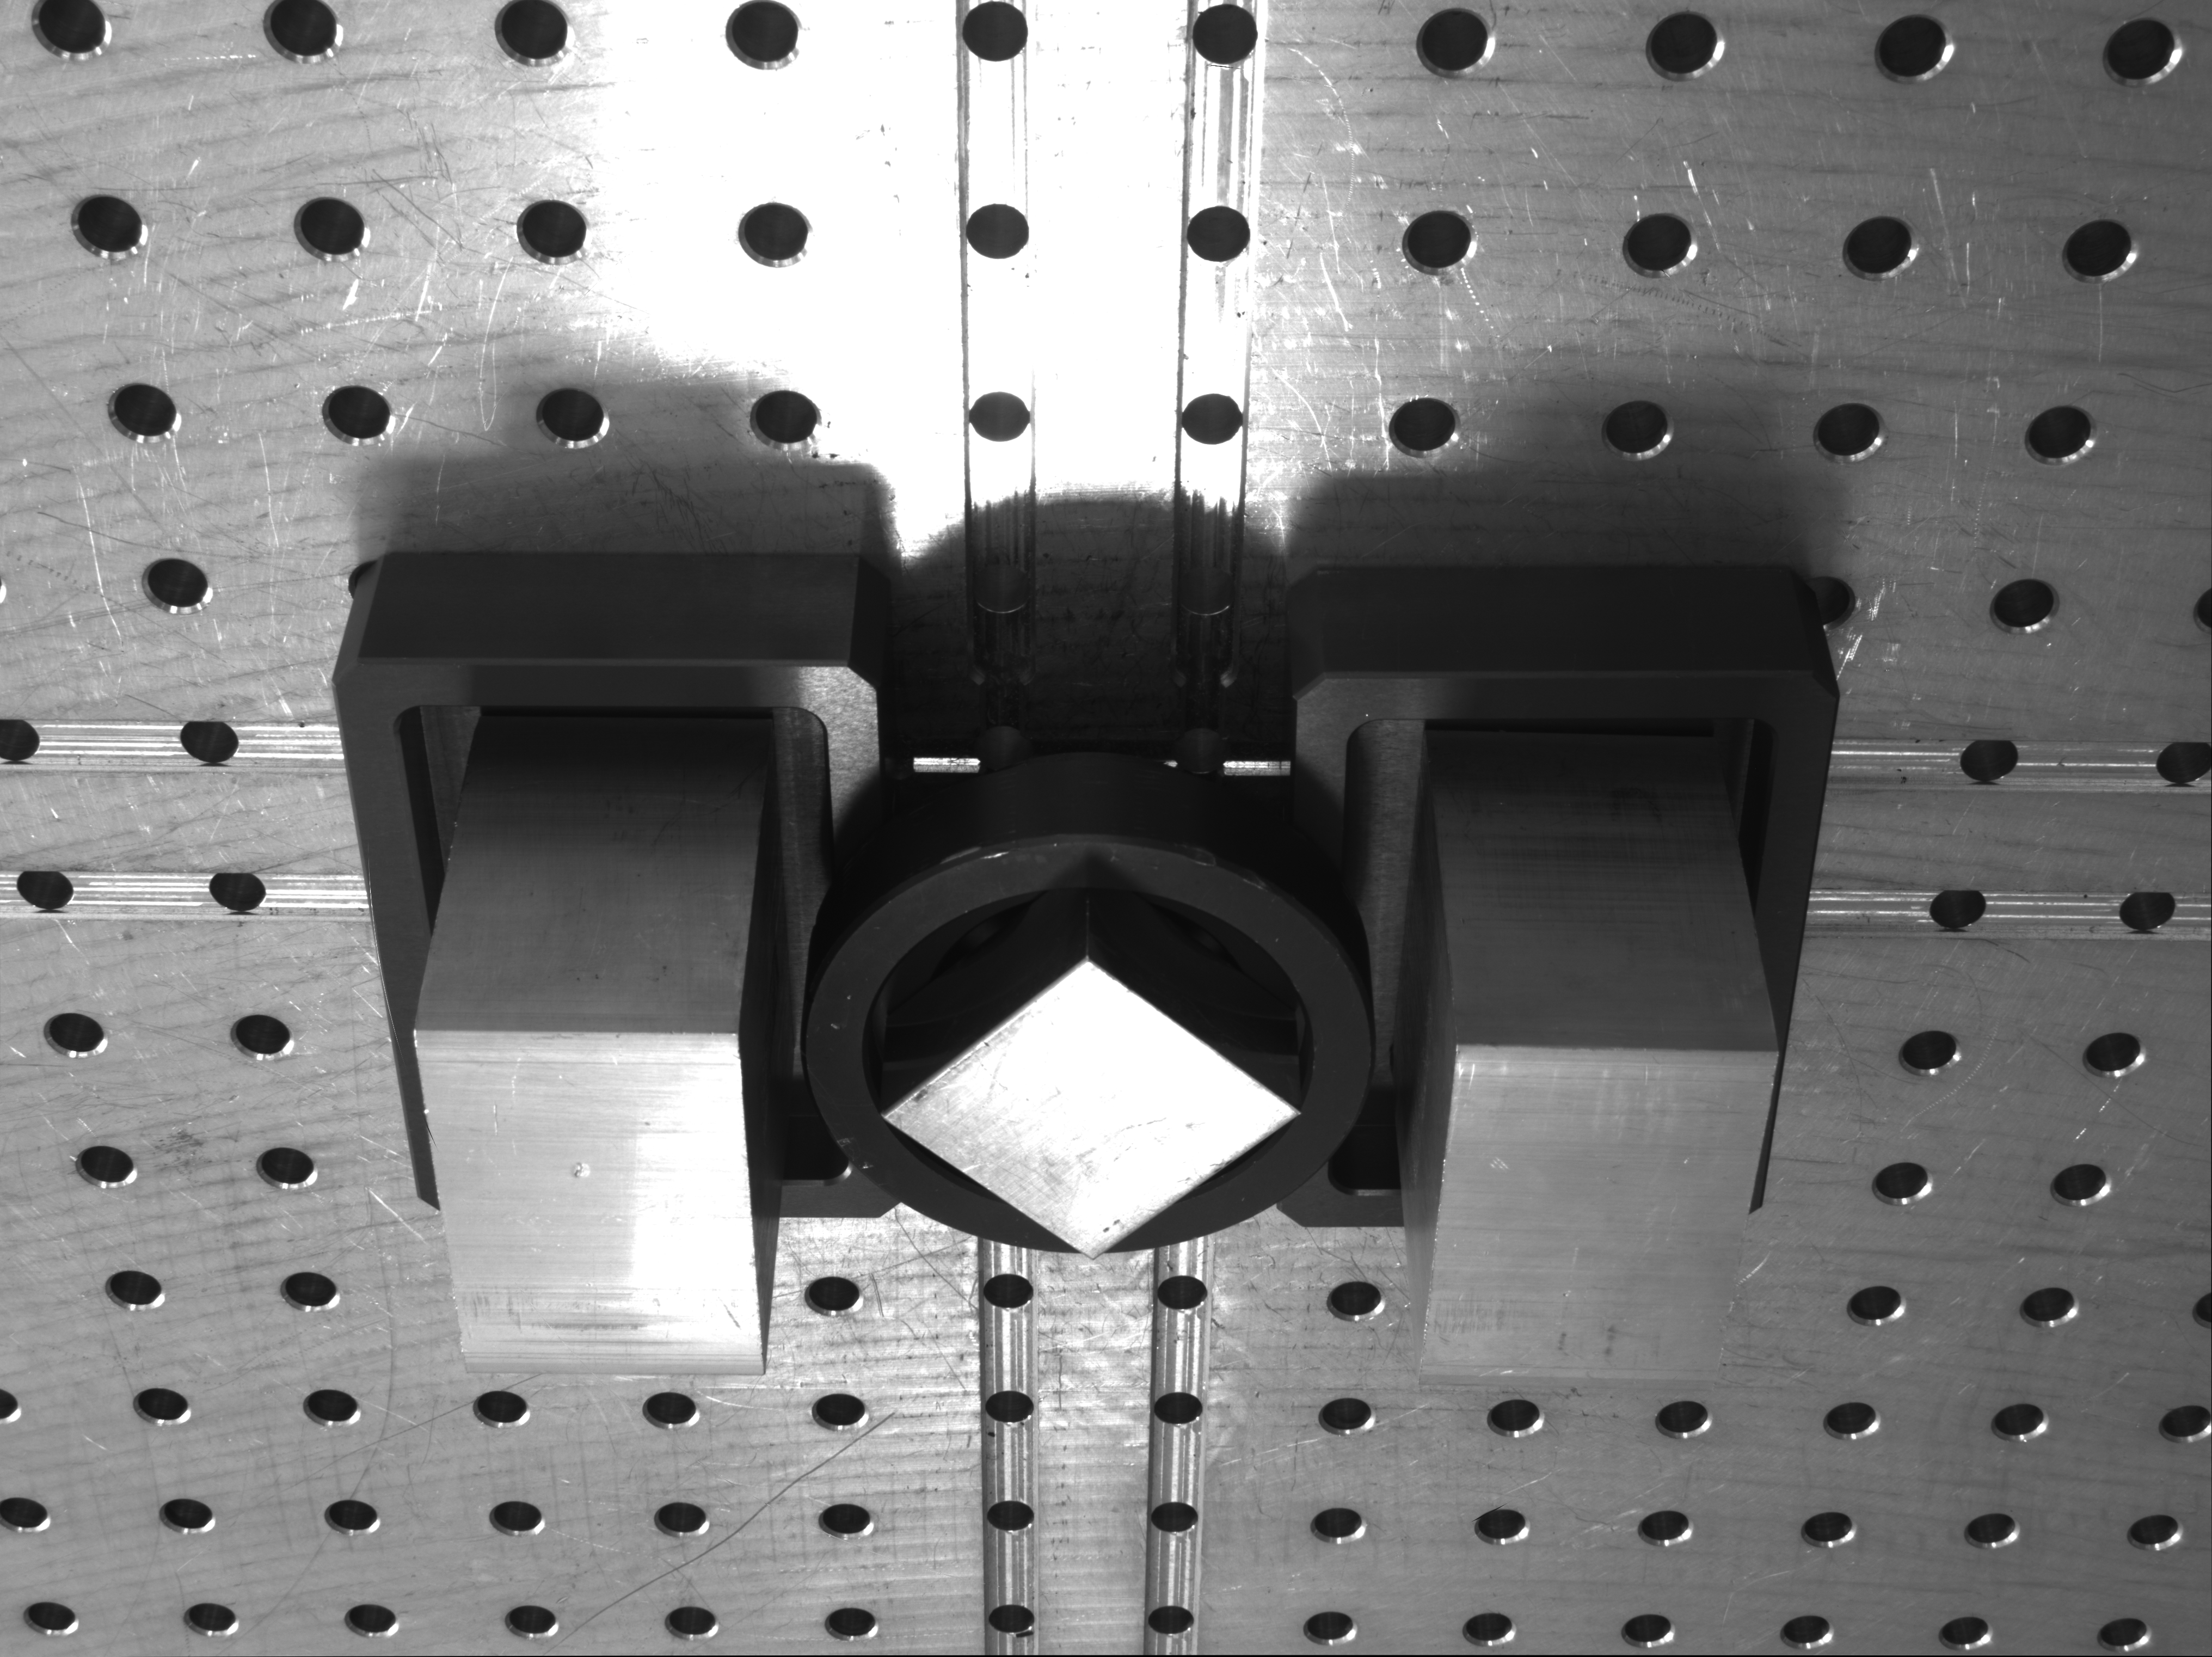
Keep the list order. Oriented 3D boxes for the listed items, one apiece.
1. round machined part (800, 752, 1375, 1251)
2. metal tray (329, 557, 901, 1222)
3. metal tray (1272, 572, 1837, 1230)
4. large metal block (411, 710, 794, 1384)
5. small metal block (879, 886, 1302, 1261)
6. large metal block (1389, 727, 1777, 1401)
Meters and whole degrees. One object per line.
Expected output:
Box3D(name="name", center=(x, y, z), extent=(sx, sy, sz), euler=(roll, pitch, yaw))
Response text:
Box3D(name="round machined part", center=(-0.003, 0.026, 0.641), extent=(0.098, 0.042, 0.098), euler=(0, 130, 0))
Box3D(name="metal tray", center=(-0.082, 0.014, 0.649), extent=(0.090, 0.030, 0.130), euler=(0, 130, 0))
Box3D(name="metal tray", center=(0.075, 0.016, 0.651), extent=(0.090, 0.030, 0.130), euler=(0, 130, 0))
Box3D(name="large metal block", center=(-0.082, 0.036, 0.619), extent=(0.050, 0.080, 0.080), euler=(1, 130, 0))
Box3D(name="small metal block", center=(-0.002, 0.040, 0.622), extent=(0.050, 0.025, 0.050), euler=(37, 121, -27))
Box3D(name="large metal block", center=(0.078, 0.040, 0.622), extent=(0.050, 0.080, 0.080), euler=(1, 130, -1))
